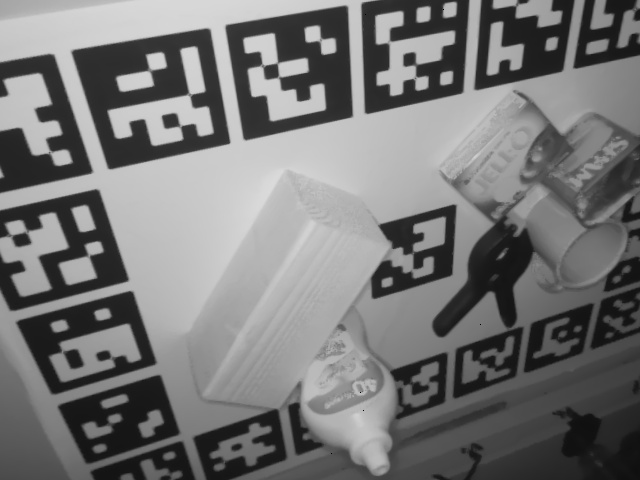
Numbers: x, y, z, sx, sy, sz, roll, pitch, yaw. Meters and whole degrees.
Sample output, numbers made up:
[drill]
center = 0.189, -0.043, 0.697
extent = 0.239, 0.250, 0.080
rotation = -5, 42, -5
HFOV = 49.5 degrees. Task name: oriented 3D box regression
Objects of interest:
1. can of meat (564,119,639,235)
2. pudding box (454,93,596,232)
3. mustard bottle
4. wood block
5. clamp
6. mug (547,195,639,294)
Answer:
[can of meat]
center = 0.308, -0.068, 0.707
extent = 0.101, 0.083, 0.058
rotation = -39, 125, 5
[pudding box]
center = 0.204, -0.076, 0.695
extent = 0.090, 0.038, 0.113
rotation = 36, 104, -34
[mustard bottle]
center = 0.043, 0.155, 0.677
extent = 0.097, 0.191, 0.058
rotation = -18, 124, -10
[wood block]
center = -0.022, 0.051, 0.656
extent = 0.091, 0.091, 0.204
rotation = 21, 113, -32
[clamp]
center = 0.222, 0.060, 0.792
extent = 0.123, 0.036, 0.163
rotation = 4, 116, -22
[mug]
center = 0.298, 0.010, 0.786
extent = 0.094, 0.081, 0.116
rotation = 6, 116, -24
